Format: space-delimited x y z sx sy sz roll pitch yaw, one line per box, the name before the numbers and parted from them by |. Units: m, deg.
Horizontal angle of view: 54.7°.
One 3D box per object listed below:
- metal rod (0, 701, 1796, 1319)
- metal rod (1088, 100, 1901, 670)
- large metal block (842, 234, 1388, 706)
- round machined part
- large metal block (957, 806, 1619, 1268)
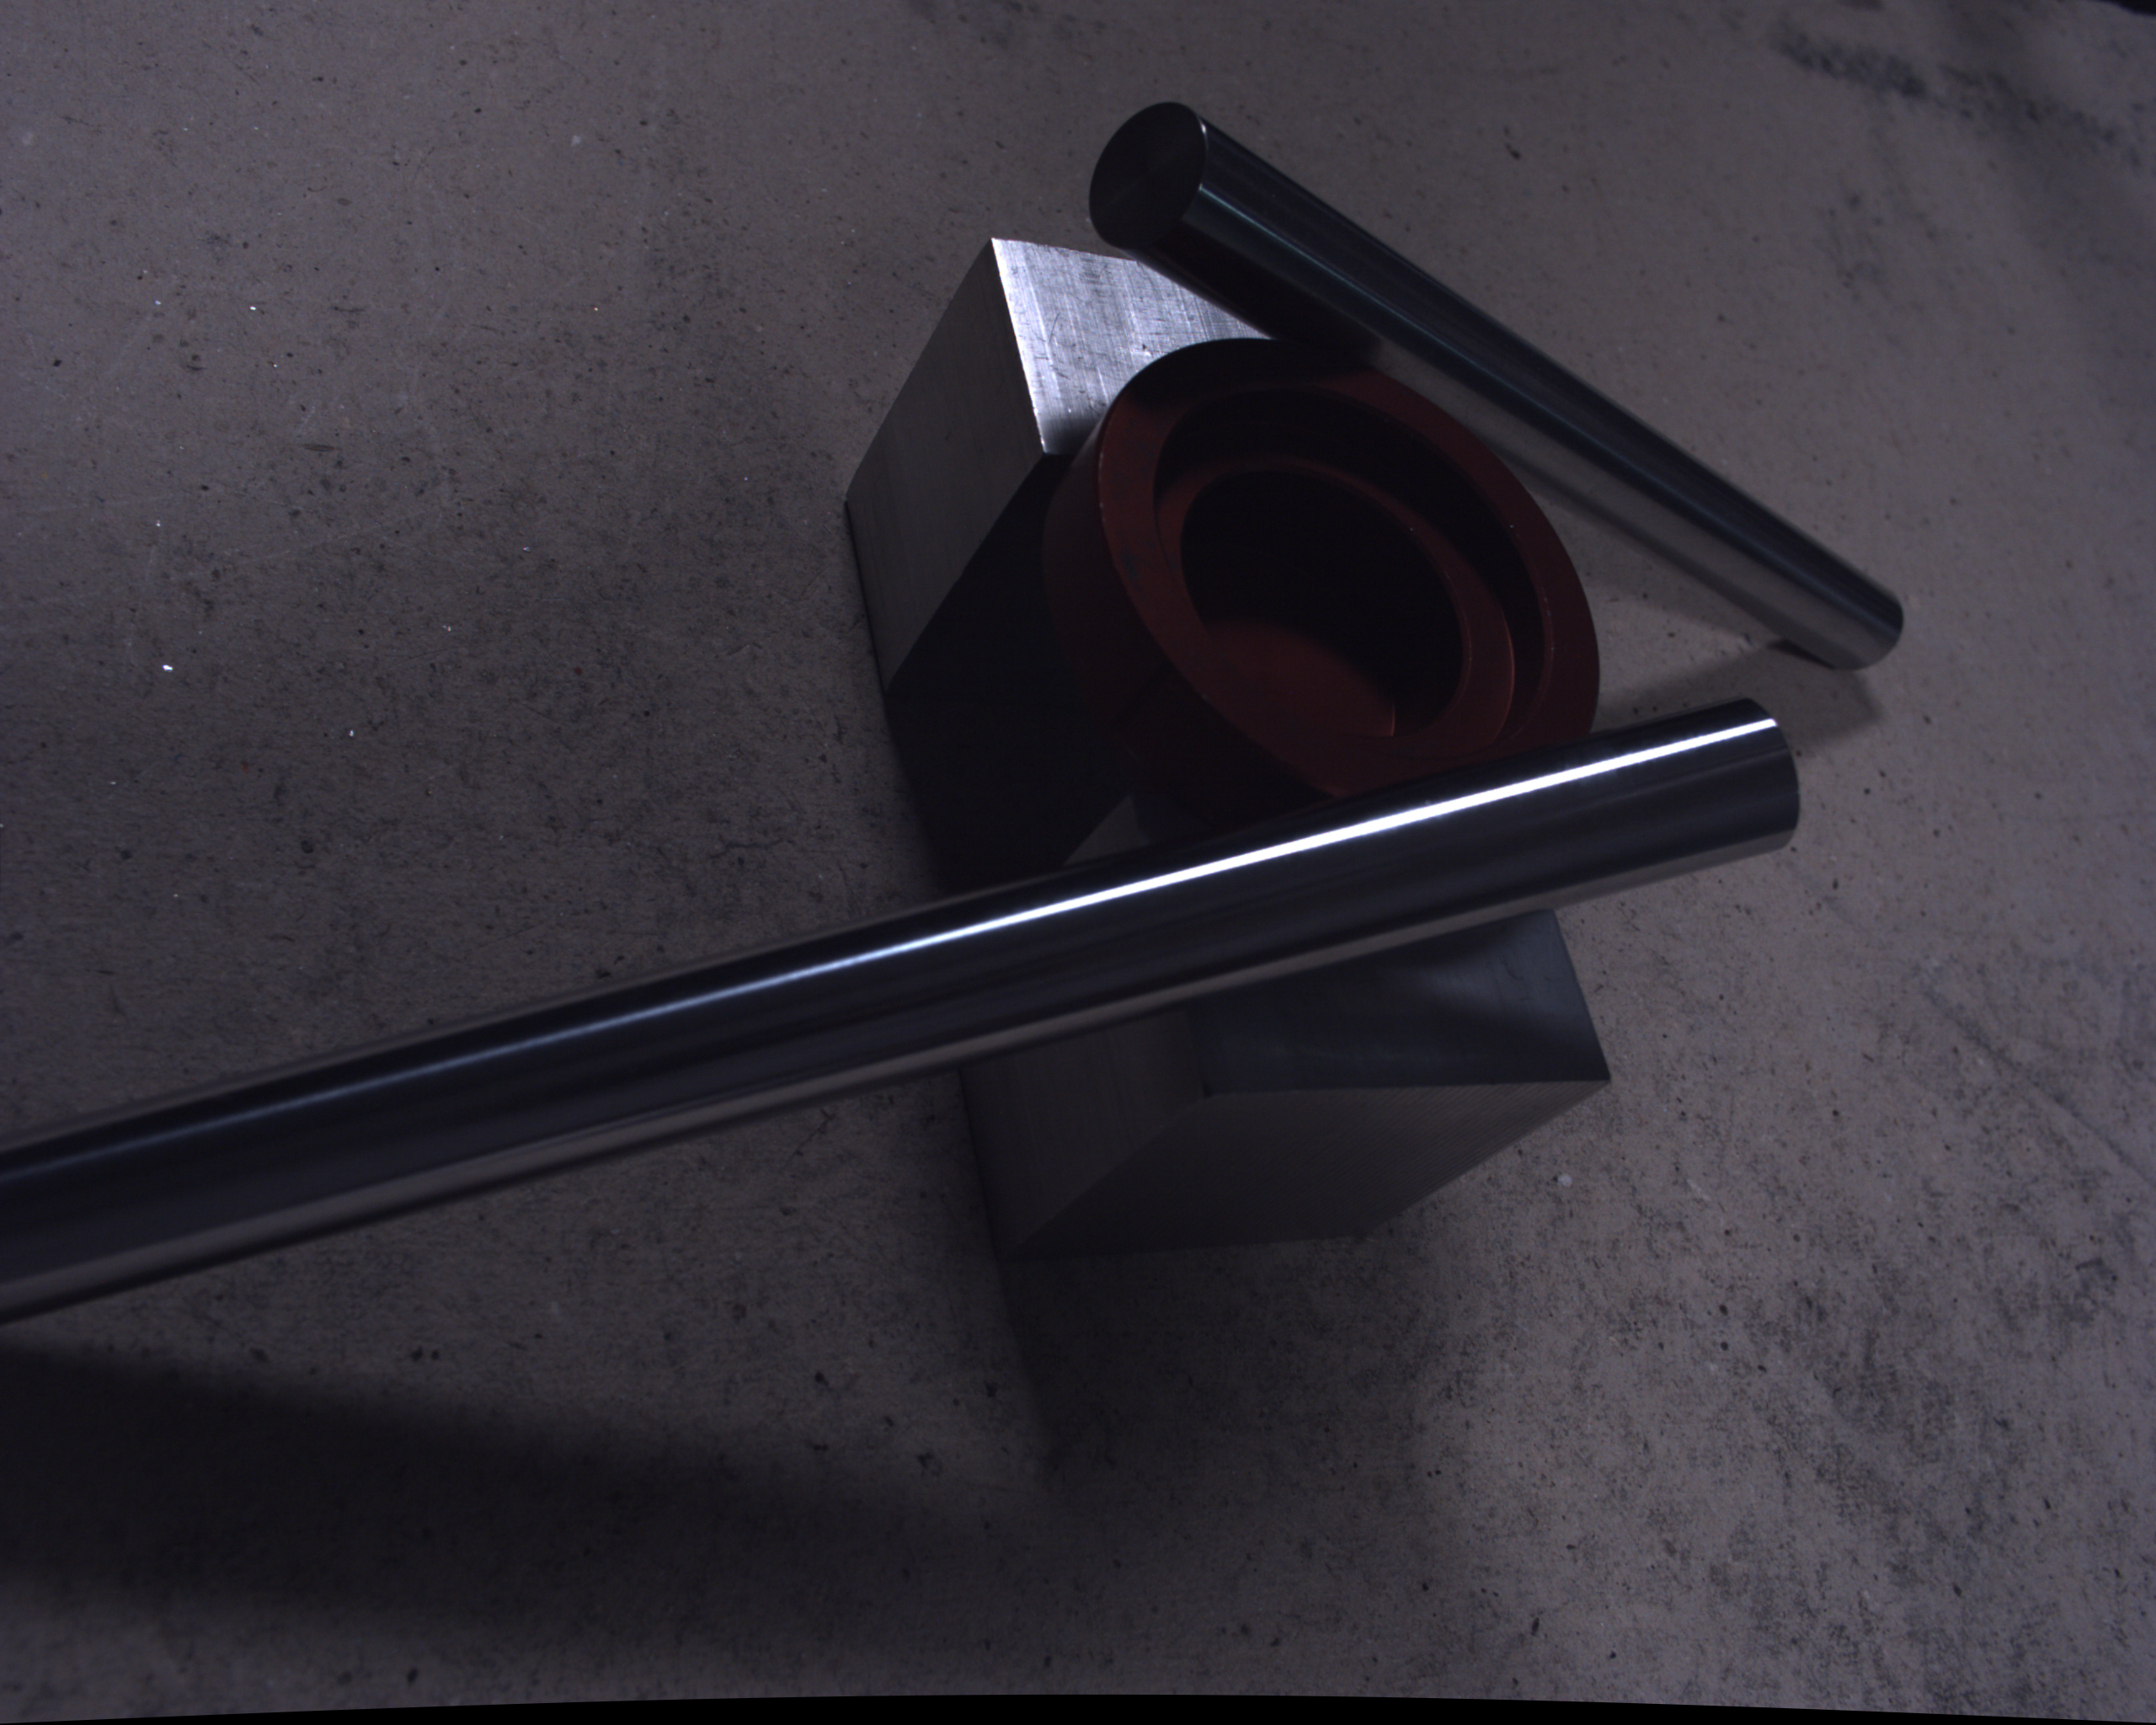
metal rod | -0.039 0.023 0.300 0.302 0.025 0.025 -14 67 -10
metal rod | 0.110 -0.088 0.452 0.302 0.025 0.025 14 53 -47
large metal block | 0.008 -0.074 0.421 0.081 0.080 0.050 1 62 -28
round machined part | 0.038 -0.040 0.366 0.099 0.042 0.098 14 56 -21
large metal block | 0.032 0.032 0.369 0.081 0.080 0.050 1 62 -28
